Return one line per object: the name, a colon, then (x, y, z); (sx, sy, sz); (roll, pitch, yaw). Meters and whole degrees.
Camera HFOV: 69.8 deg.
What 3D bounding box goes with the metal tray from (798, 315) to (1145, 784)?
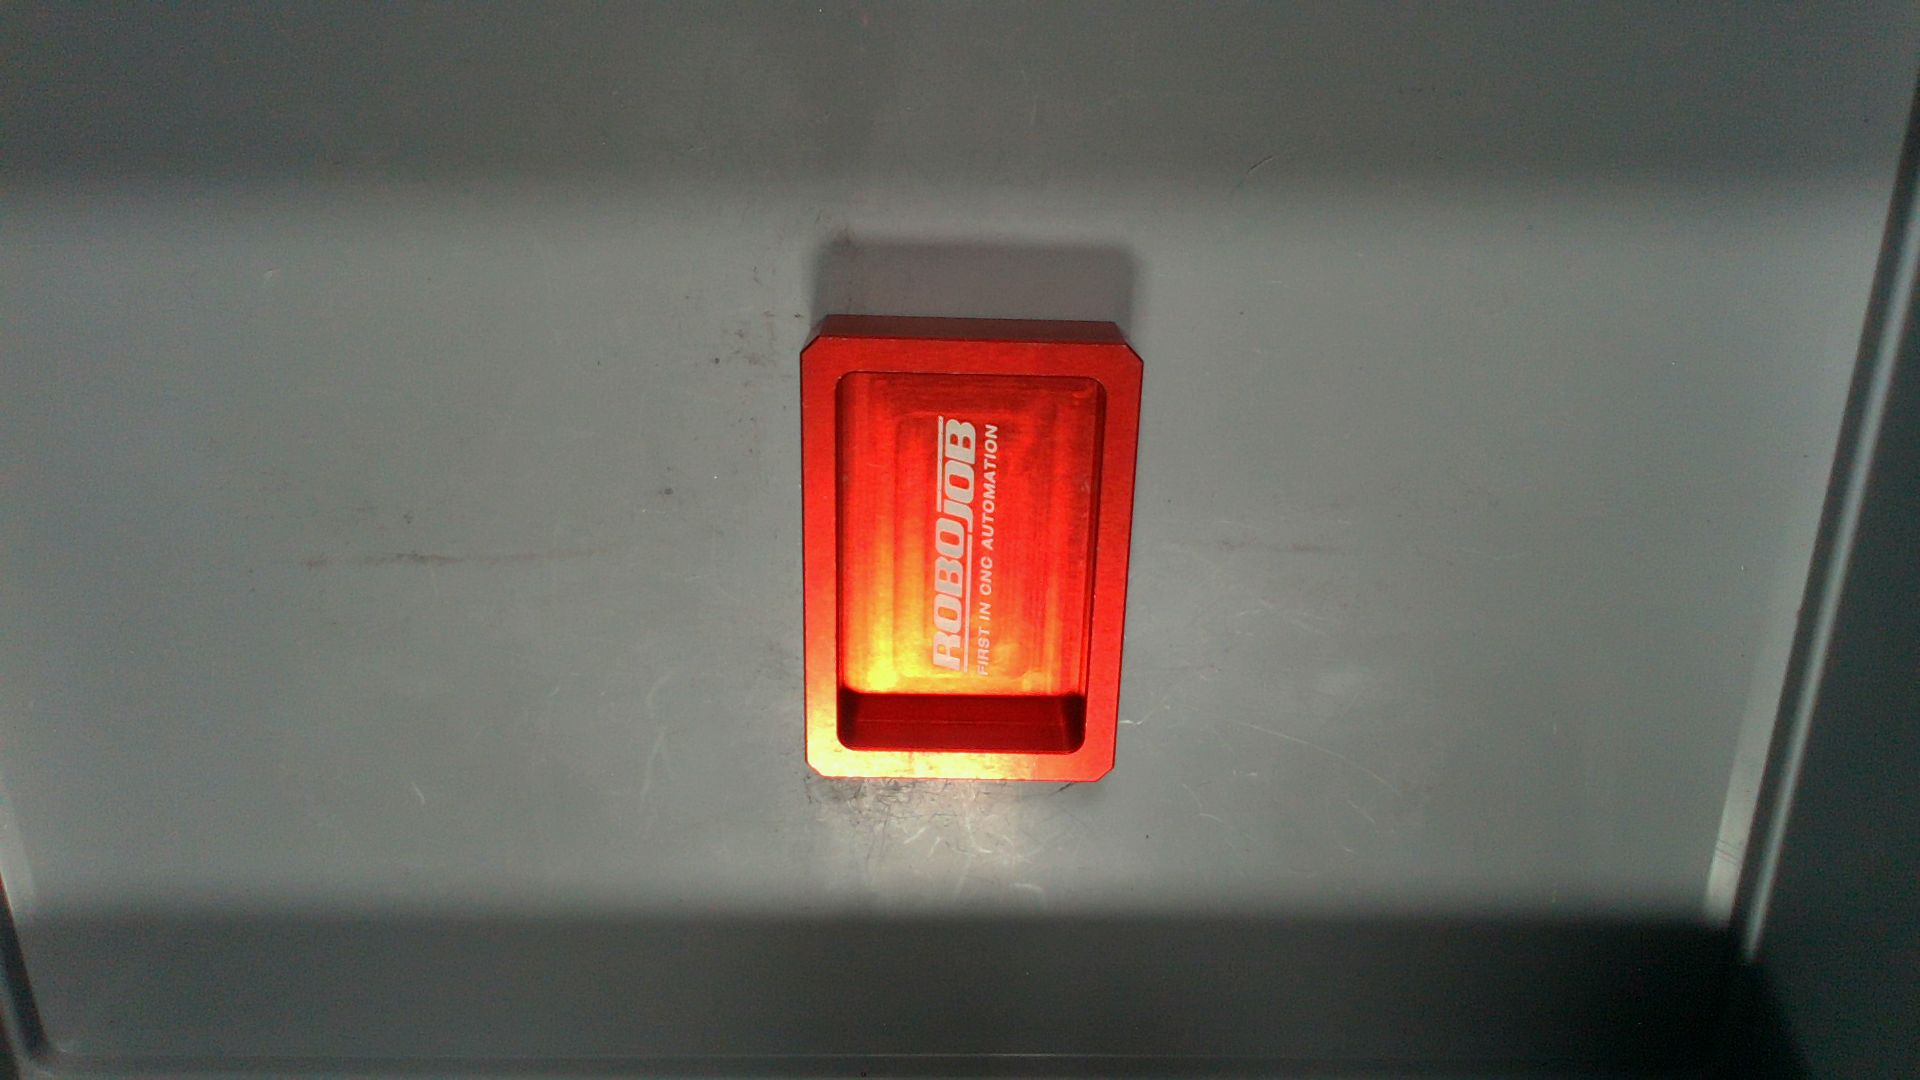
metal tray: (0.002, 0.004, 0.390); (0.090, 0.030, 0.130); (1, 110, -1)
